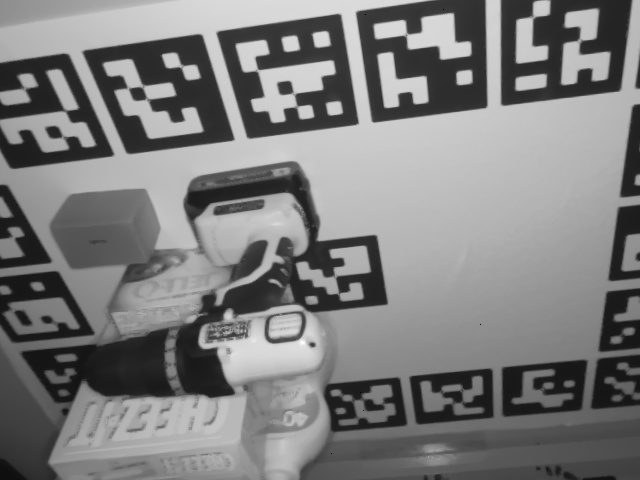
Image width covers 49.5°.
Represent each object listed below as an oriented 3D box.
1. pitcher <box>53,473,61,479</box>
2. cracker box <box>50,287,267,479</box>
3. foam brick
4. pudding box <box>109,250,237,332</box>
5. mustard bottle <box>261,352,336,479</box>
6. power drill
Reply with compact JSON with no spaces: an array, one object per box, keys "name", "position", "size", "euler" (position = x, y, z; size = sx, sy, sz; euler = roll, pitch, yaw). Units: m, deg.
[{"name":"pitcher","position":[-0.165,0.214,0.709],"size":[0.189,0.244,0.132],"euler":[-2,126,1]},{"name":"cracker box","position":[-0.135,0.124,0.650],"size":[0.164,0.215,0.071],"euler":[-9,127,5]},{"name":"foam brick","position":[-0.200,-0.012,0.661],"size":[0.078,0.052,0.052],"euler":[-5,124,5]},{"name":"pudding box","position":[-0.134,0.053,0.666],"size":[0.114,0.090,0.038],"euler":[-7,127,3]},{"name":"mustard bottle","position":[-0.033,0.192,0.705],"size":[0.096,0.193,0.058],"euler":[5,125,-1]},{"name":"power drill","position":[-0.085,0.037,0.568],"size":[0.184,0.188,0.057],"euler":[-7,129,7]}]
